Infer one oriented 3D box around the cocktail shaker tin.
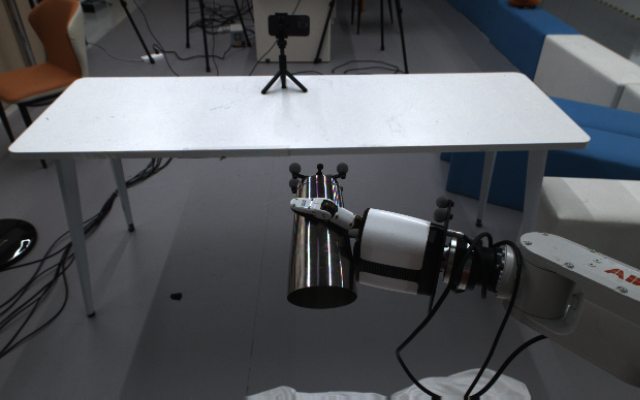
[{"bbox_3d":[0.000,0.053,0.665,0.093,0.093,0.170,0,59,-3],"label":"cocktail shaker tin"}]
